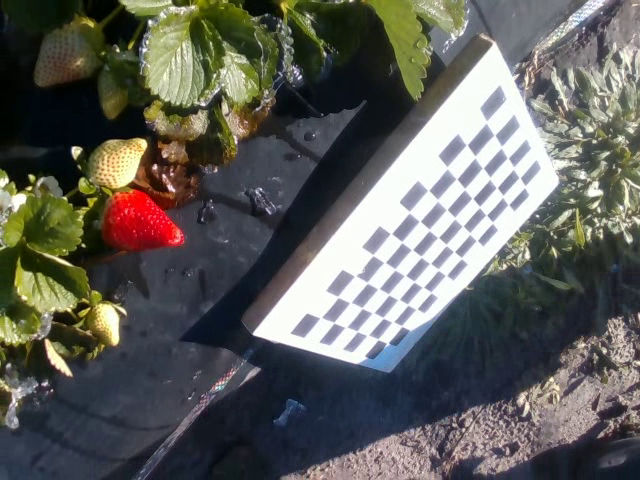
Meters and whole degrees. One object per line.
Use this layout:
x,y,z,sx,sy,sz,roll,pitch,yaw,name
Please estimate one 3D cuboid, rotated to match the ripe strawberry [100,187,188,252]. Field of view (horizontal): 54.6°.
-0.100,-0.008,0.355,0.053,0.040,0.042,22,33,16,ripe strawberry
